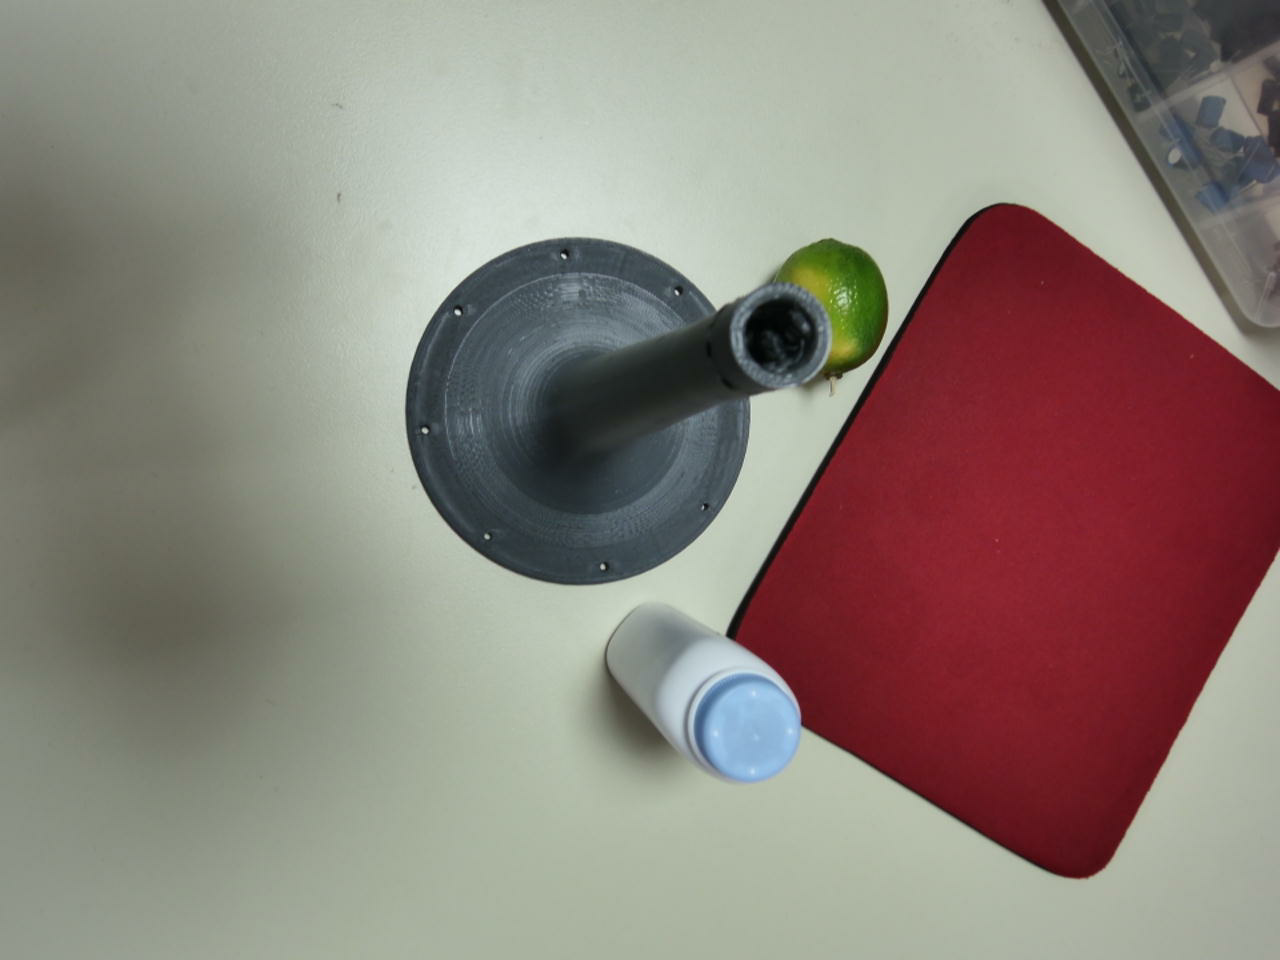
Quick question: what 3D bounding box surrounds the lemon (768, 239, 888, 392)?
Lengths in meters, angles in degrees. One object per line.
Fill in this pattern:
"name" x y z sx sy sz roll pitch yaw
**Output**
"lemon" 0.081 -0.074 0.430 0.054 0.050 0.055 41 83 -9
